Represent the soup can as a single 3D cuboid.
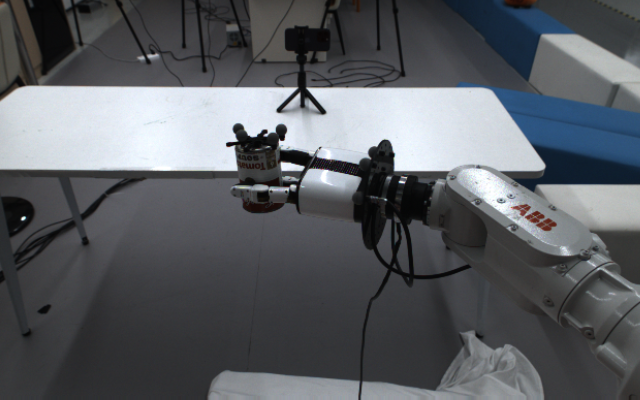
[{"bbox_3d":[-0.091,-0.038,0.745,0.067,0.101,0.067,-3,26,2],"label":"soup can"}]
